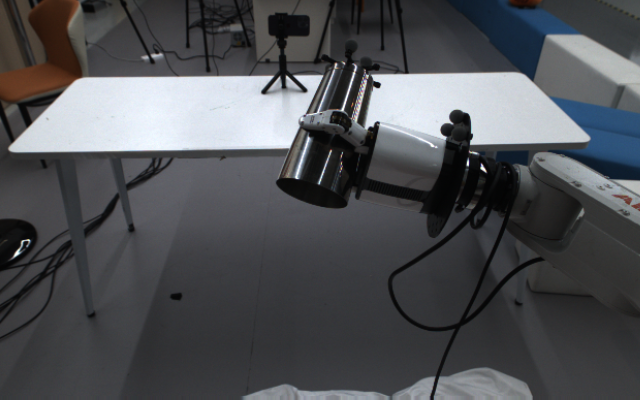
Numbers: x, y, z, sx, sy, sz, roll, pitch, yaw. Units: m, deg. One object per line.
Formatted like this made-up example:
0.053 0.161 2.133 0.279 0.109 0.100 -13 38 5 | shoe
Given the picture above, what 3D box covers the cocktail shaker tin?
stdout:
0.015 -0.084 0.615 0.093 0.093 0.170 13 74 16 | cocktail shaker tin
